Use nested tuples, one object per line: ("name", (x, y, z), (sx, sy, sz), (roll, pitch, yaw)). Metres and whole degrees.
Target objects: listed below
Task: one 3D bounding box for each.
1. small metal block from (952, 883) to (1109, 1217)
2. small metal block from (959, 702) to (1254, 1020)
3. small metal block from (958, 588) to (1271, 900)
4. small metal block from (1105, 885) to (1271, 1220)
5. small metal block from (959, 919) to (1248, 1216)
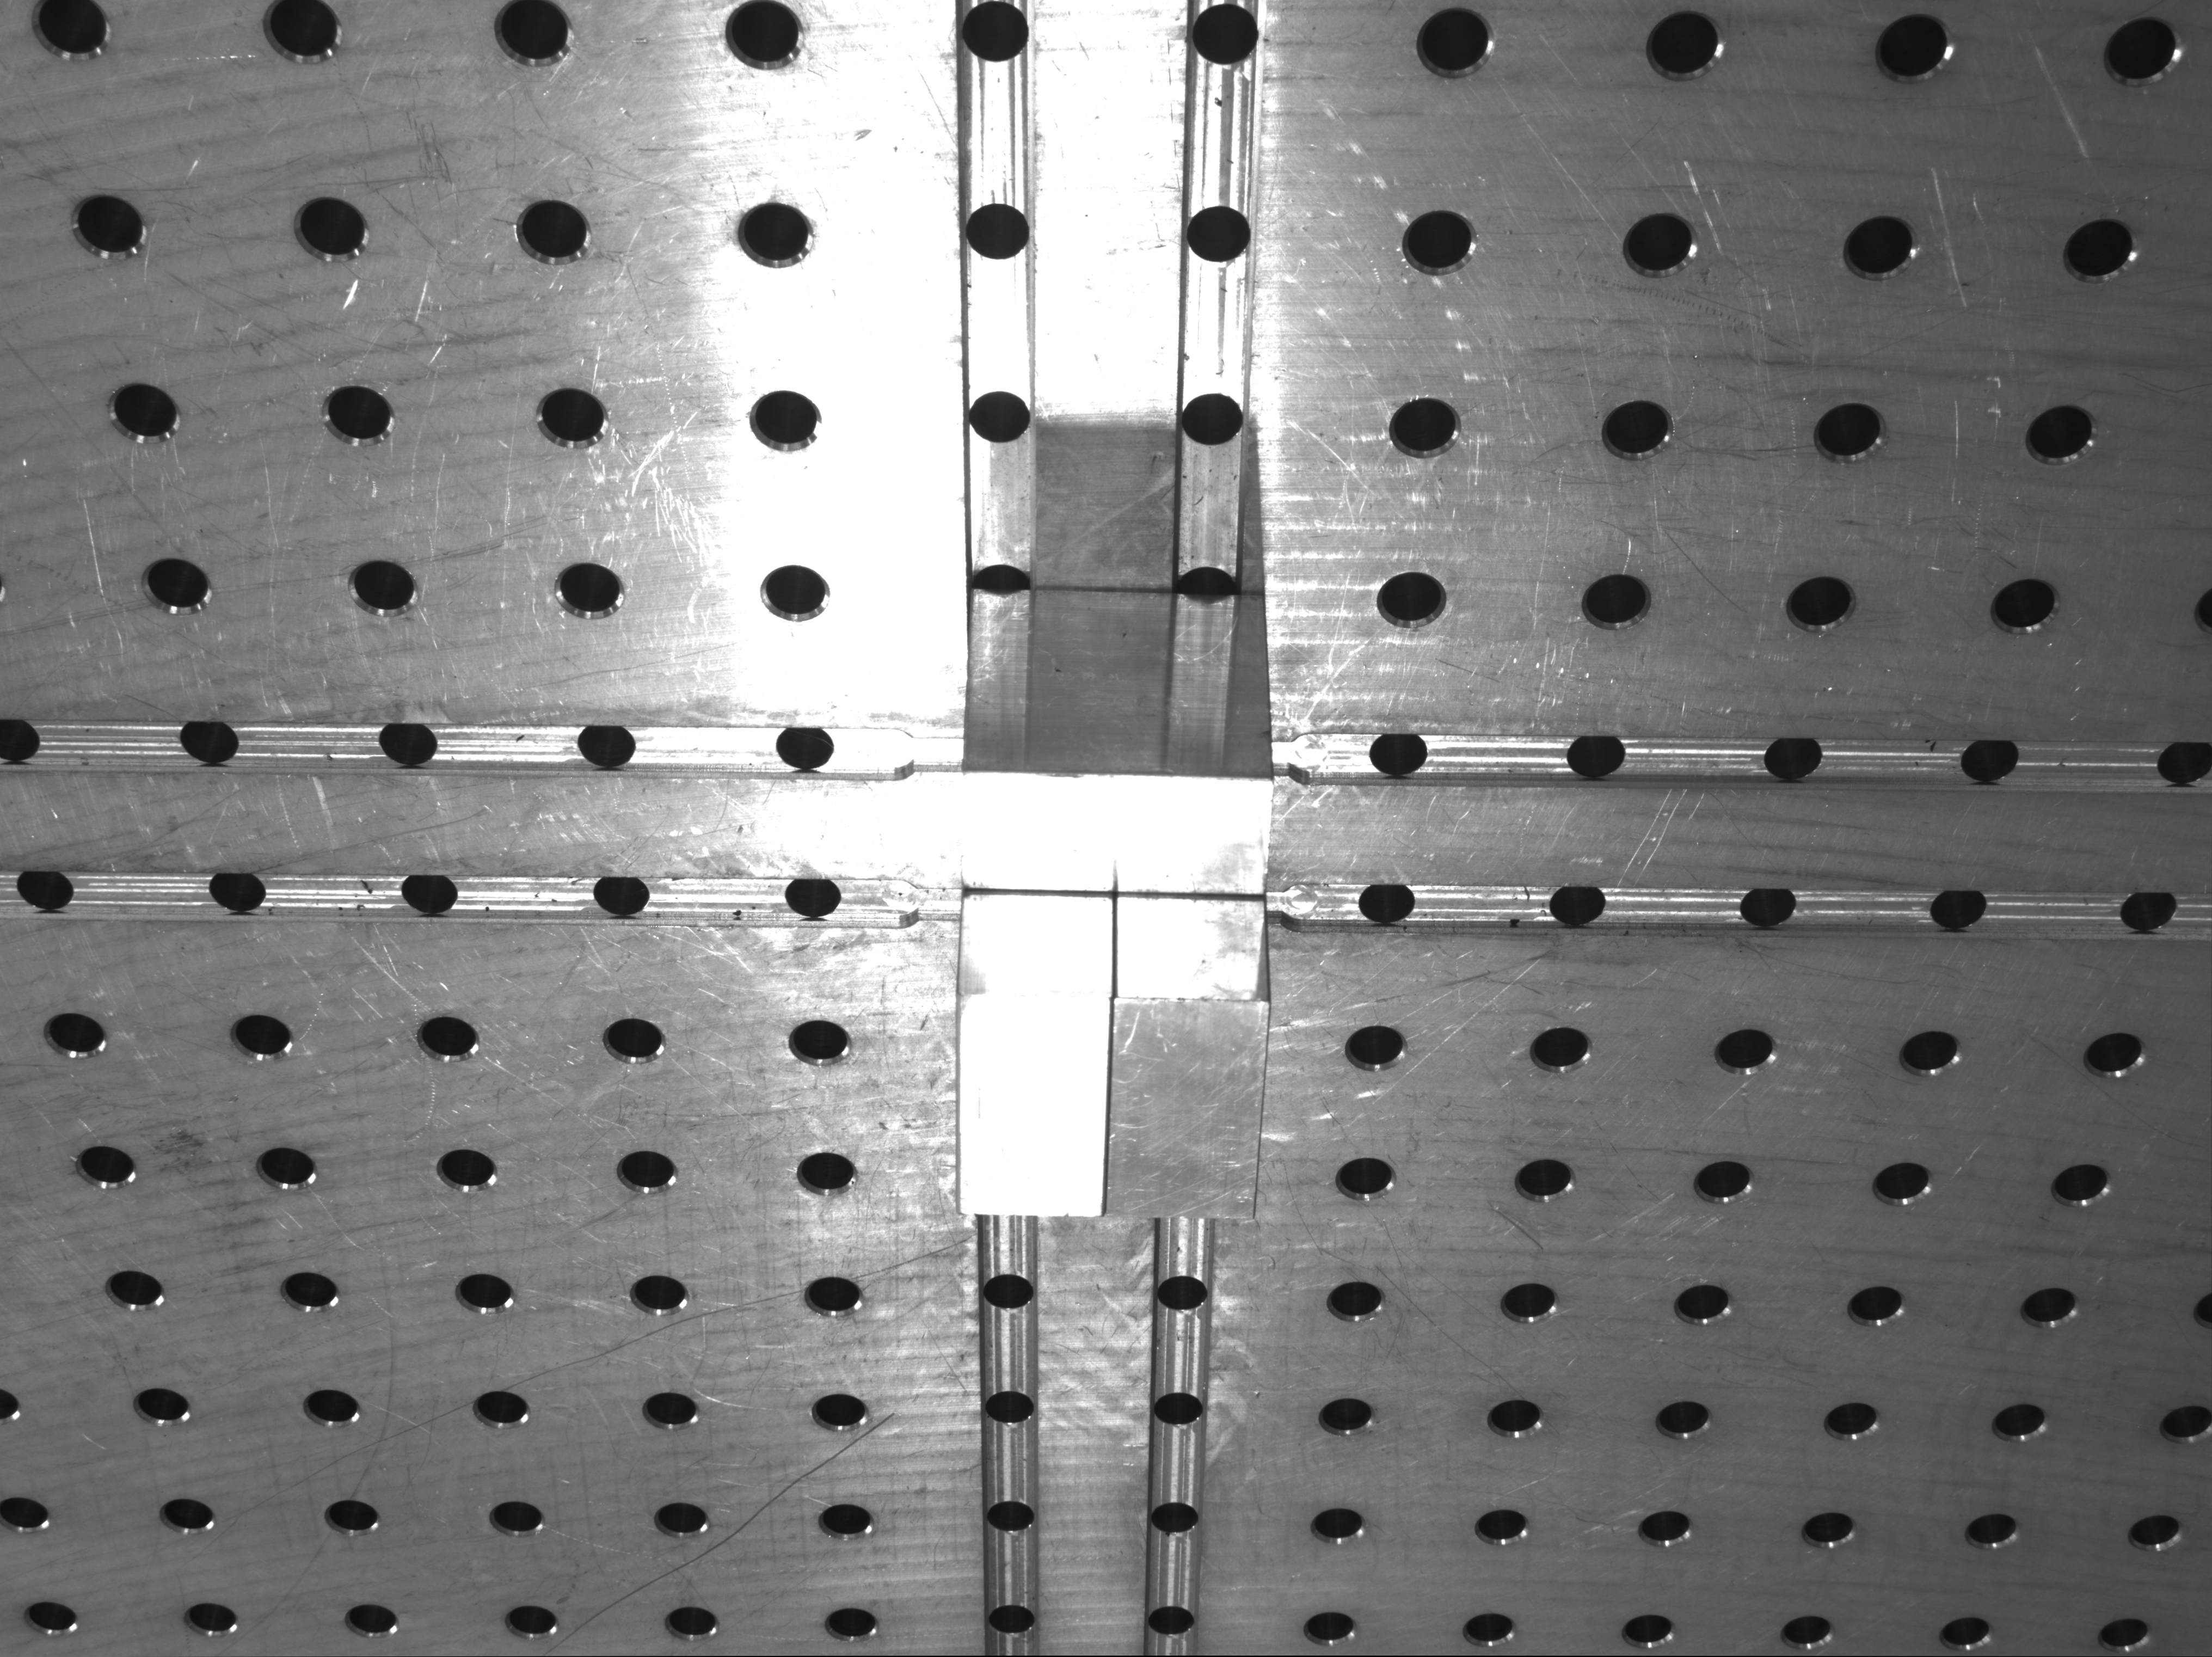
("small metal block", (-0.013, 0.030, 0.618), (0.025, 0.050, 0.050), (1, 130, -1))
("small metal block", (0.000, 0.006, 0.647), (0.050, 0.025, 0.050), (2, 130, 0))
("small metal block", (0.001, -0.015, 0.613), (0.050, 0.050, 0.025), (2, 130, -1))
("small metal block", (0.014, 0.030, 0.619), (0.025, 0.050, 0.050), (2, 130, 0))
("small metal block", (0.000, 0.043, 0.662), (0.050, 0.050, 0.025), (1, 130, -1))
